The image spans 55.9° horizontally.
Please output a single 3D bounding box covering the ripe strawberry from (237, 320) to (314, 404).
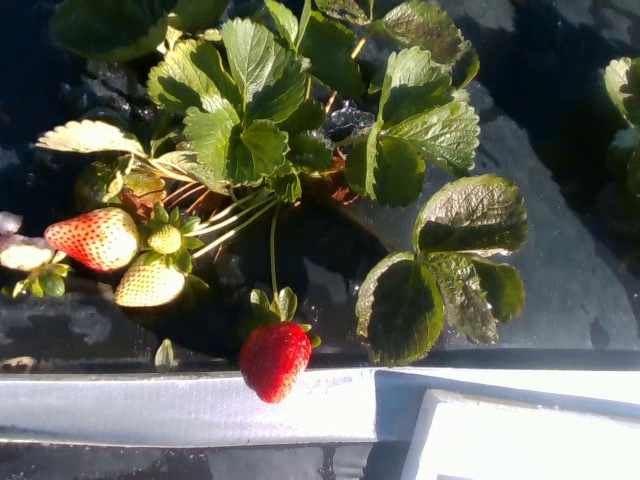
[{"bbox_3d":[-0.020,0.056,0.250,0.036,0.038,0.046,10,25,-7],"label":"ripe strawberry"}]
